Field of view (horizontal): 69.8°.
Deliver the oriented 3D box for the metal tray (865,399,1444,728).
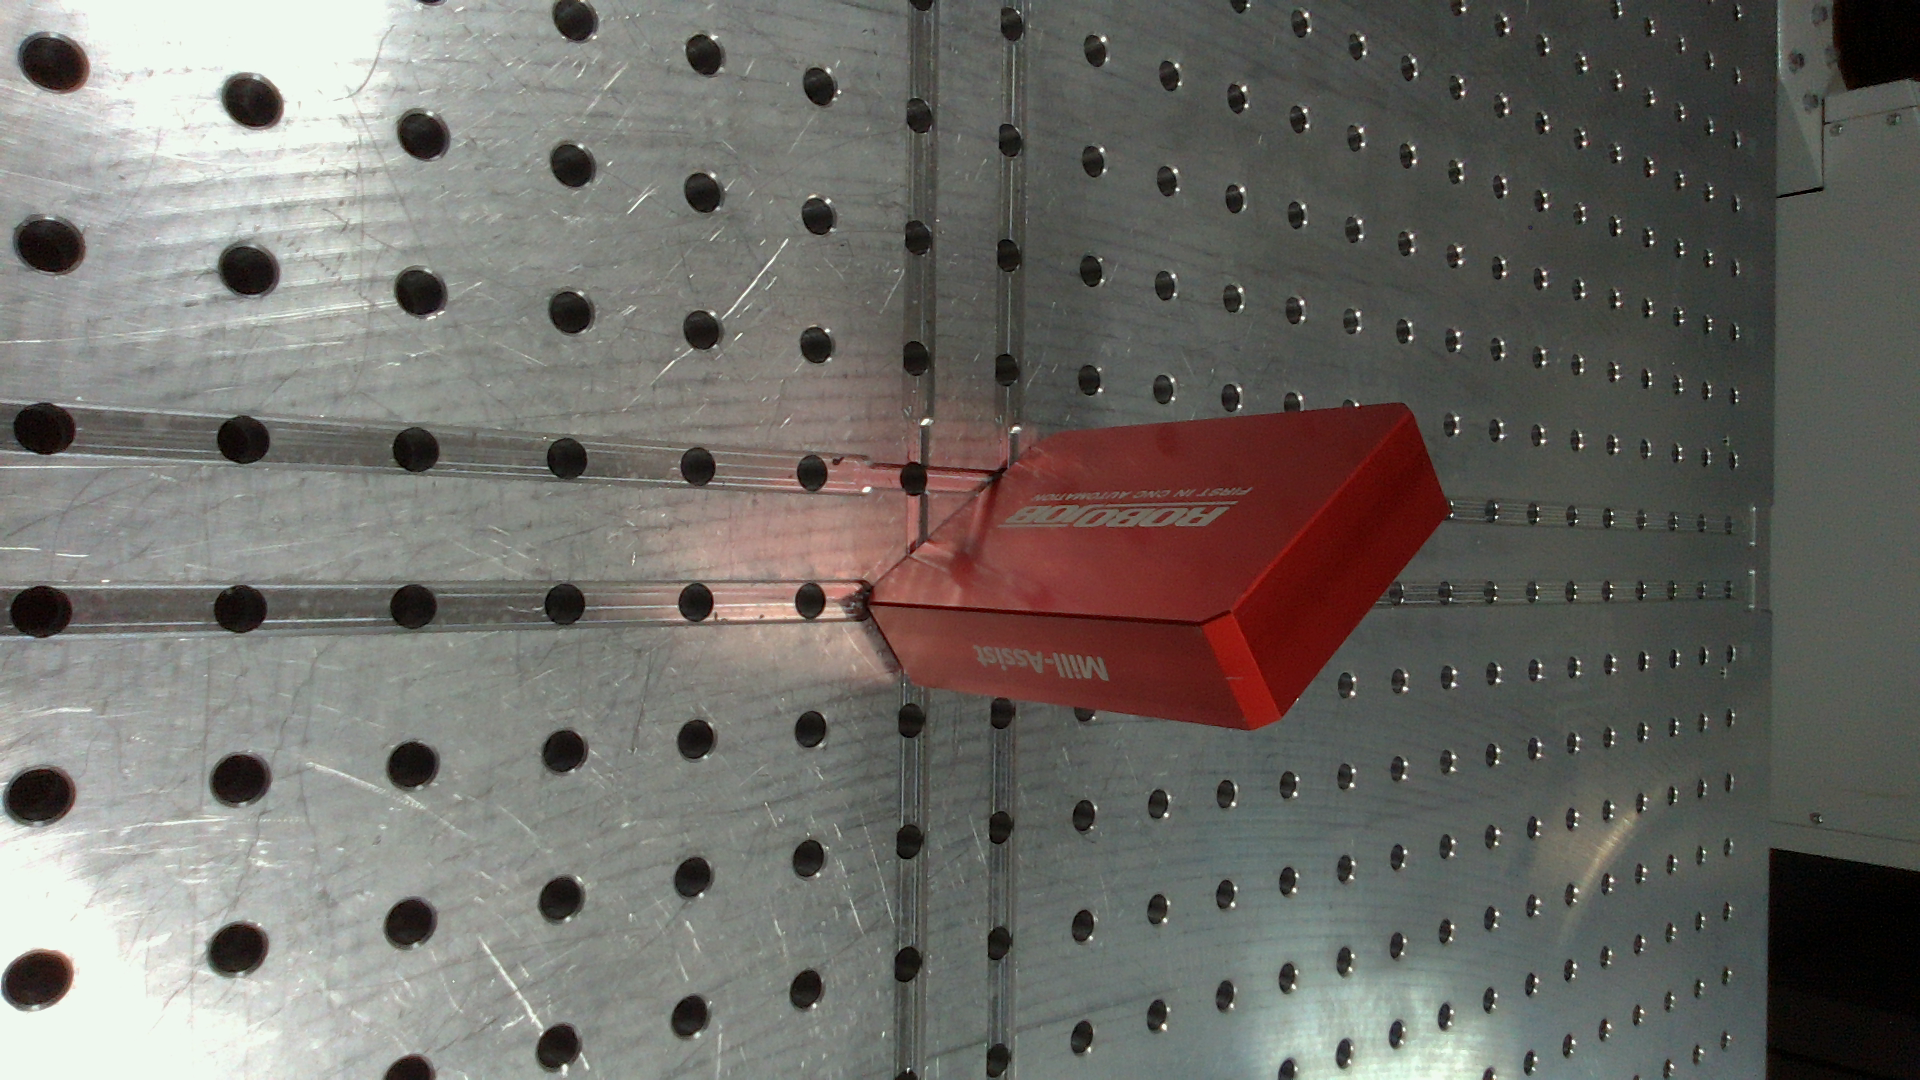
[{"bbox_3d":[0.047,0.003,0.362,0.090,0.129,0.030,-42,115,-32],"label":"metal tray"}]
